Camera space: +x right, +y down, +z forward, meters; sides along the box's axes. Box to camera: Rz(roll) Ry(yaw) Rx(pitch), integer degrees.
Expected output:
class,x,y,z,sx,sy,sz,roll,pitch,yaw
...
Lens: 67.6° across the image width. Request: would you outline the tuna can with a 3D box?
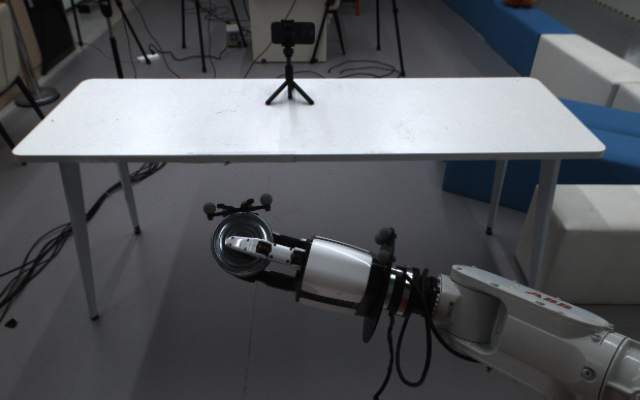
class,x,y,z,sx,sy,sz,roll,pitch,yaw
tuna can,-0.101,0.066,0.659,0.085,0.034,0.085,0,72,-1
